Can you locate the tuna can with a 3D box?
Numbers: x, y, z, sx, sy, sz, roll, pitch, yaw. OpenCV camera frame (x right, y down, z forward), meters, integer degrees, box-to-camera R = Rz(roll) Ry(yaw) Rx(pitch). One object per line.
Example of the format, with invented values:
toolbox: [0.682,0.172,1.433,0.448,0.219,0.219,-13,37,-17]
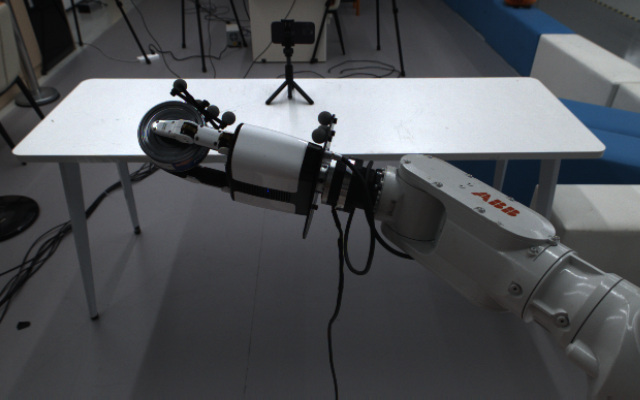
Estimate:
tuna can: [-0.182,-0.080,0.609,0.085,0.034,0.085,0,74,-1]
